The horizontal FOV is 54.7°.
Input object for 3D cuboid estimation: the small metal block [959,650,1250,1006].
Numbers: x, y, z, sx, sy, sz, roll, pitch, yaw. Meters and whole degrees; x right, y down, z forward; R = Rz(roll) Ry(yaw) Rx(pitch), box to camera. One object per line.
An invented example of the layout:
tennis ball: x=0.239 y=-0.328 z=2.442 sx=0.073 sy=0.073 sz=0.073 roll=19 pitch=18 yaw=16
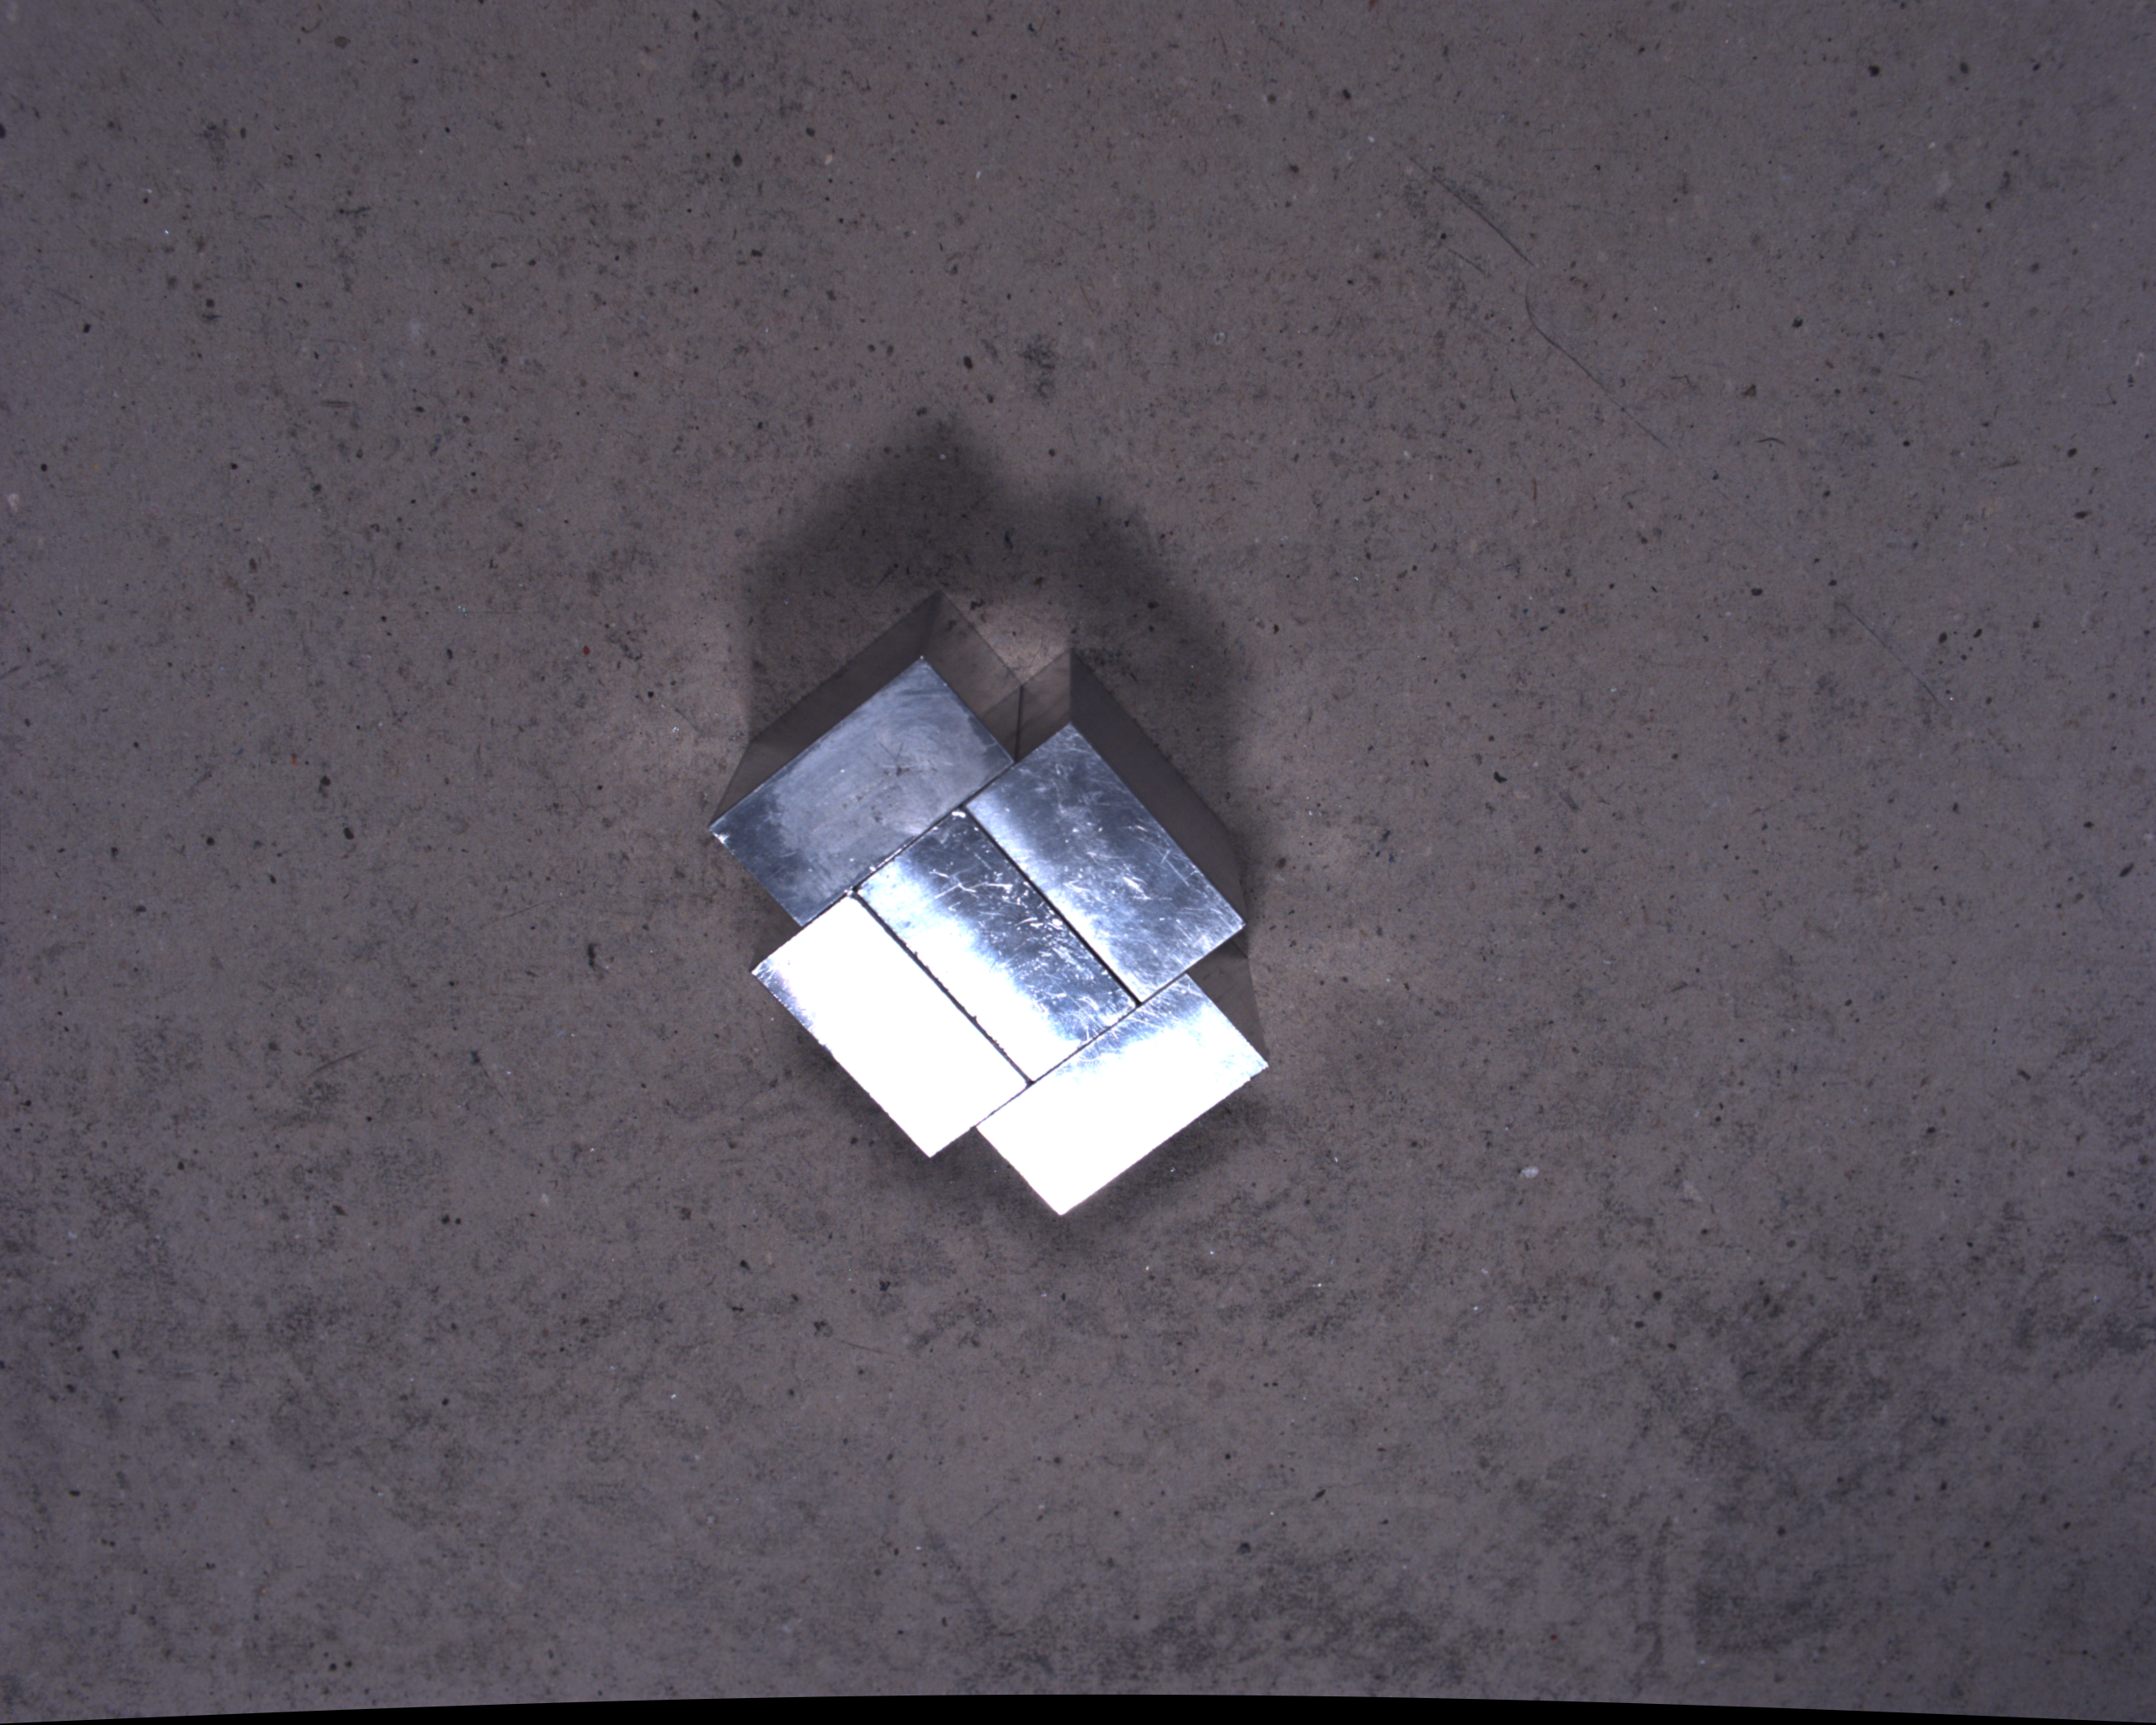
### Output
small metal block: x=0.005 y=-0.008 z=0.394 sx=0.025 sy=0.050 sz=0.050 roll=-39 pitch=106 yaw=13

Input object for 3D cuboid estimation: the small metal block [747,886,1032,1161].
small metal block: x=-0.034 y=0.022 z=0.405 sx=0.025 sy=0.050 sz=0.050 roll=-38 pitch=106 yaw=12

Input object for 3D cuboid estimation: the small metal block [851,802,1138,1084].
small metal block: x=-0.015 y=0.007 z=0.399 sx=0.025 sy=0.050 sz=0.050 roll=-38 pitch=106 yaw=12

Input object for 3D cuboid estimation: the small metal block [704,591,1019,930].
small metal block: x=-0.038 y=-0.020 z=0.389 sx=0.050 sy=0.050 sz=0.025 roll=-37 pitch=106 yaw=12

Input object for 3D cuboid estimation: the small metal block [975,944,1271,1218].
small metal block: x=0.008 y=0.035 z=0.410 sx=0.050 sy=0.050 sz=0.025 roll=-37 pitch=106 yaw=12
